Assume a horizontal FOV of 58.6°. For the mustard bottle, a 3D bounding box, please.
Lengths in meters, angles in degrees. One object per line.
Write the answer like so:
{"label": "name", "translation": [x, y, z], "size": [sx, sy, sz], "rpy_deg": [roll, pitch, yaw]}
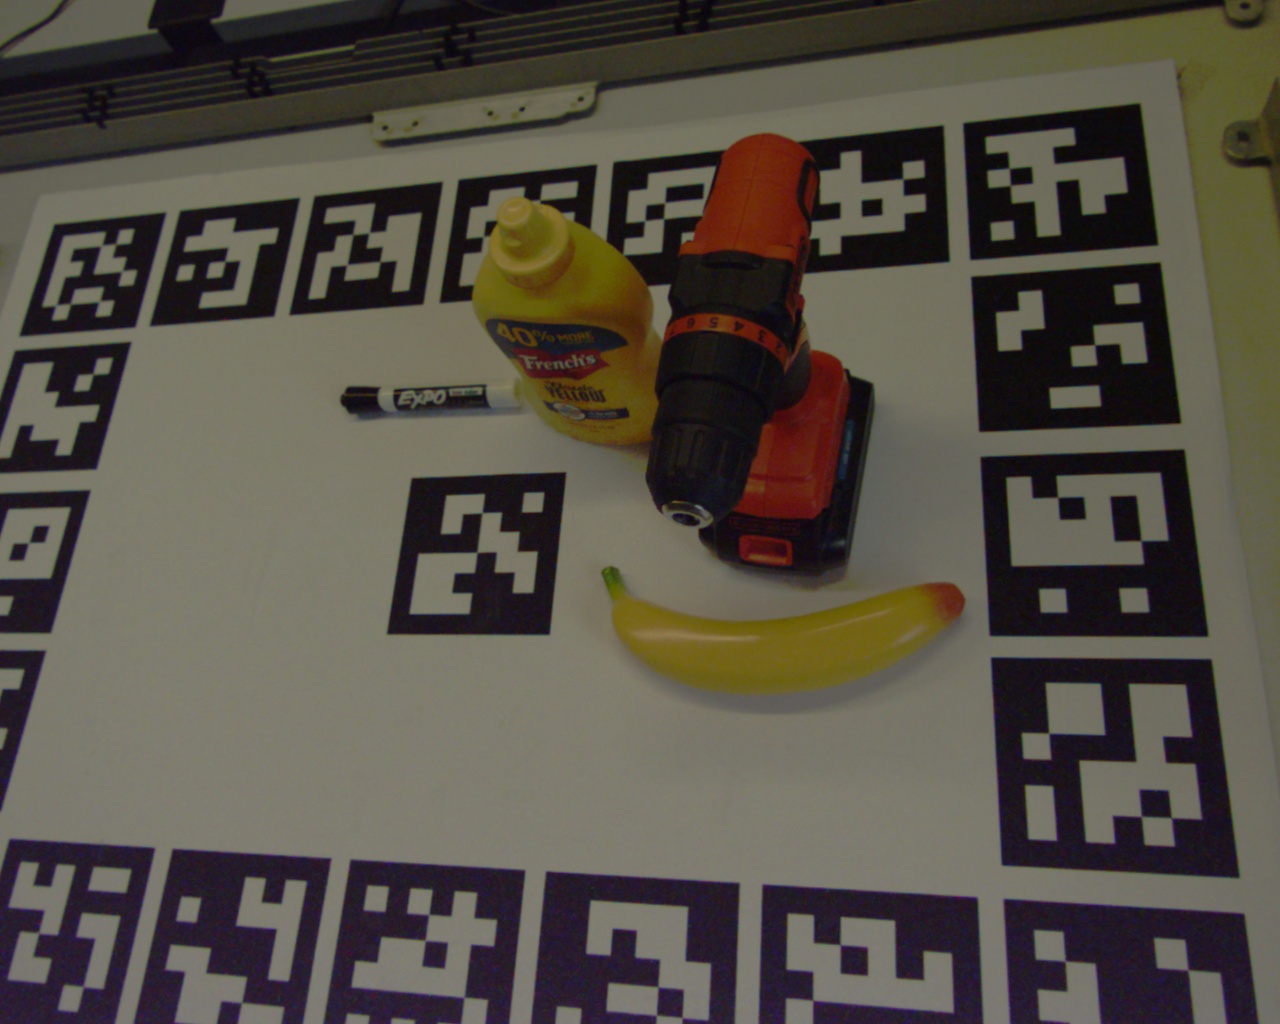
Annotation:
{"label": "mustard bottle", "translation": [-0.037, -0.086, 0.662], "size": [0.097, 0.190, 0.058], "rpy_deg": [9, 72, 17]}

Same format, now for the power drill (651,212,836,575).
{"label": "power drill", "translation": [0.058, -0.035, 0.597], "size": [0.058, 0.185, 0.184], "rpy_deg": [12, 70, 16]}

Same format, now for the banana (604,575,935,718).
{"label": "banana", "translation": [0.066, 0.081, 0.654], "size": [0.199, 0.038, 0.074], "rpy_deg": [5, 72, 19]}

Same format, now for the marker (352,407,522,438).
{"label": "marker", "translation": [-0.140, -0.061, 0.775], "size": [0.122, 0.019, 0.020], "rpy_deg": [0, 70, 16]}
